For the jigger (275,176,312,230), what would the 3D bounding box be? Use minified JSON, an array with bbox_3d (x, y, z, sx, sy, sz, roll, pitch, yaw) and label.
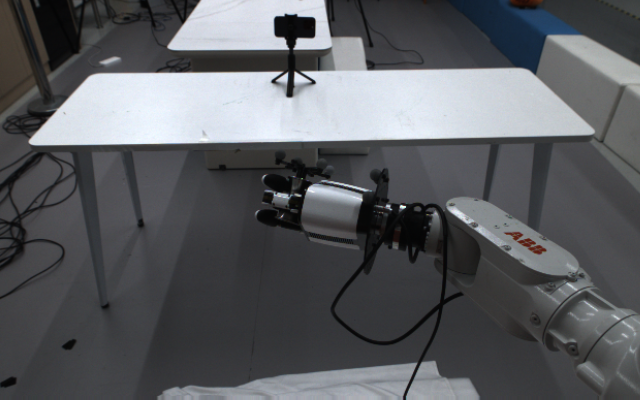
[{"bbox_3d":[-0.037,0.001,0.743,0.043,0.071,0.043,15,-7,2],"label":"jigger"}]
